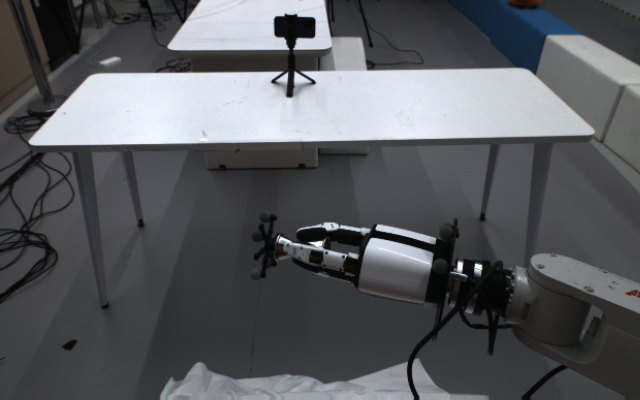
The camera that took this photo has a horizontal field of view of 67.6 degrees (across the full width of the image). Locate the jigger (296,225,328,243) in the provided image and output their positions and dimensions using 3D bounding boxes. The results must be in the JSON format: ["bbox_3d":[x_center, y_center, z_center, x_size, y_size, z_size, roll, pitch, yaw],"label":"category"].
[{"bbox_3d":[-0.017,0.065,0.659,0.071,0.043,0.043,5,34,15],"label":"jigger"}]
